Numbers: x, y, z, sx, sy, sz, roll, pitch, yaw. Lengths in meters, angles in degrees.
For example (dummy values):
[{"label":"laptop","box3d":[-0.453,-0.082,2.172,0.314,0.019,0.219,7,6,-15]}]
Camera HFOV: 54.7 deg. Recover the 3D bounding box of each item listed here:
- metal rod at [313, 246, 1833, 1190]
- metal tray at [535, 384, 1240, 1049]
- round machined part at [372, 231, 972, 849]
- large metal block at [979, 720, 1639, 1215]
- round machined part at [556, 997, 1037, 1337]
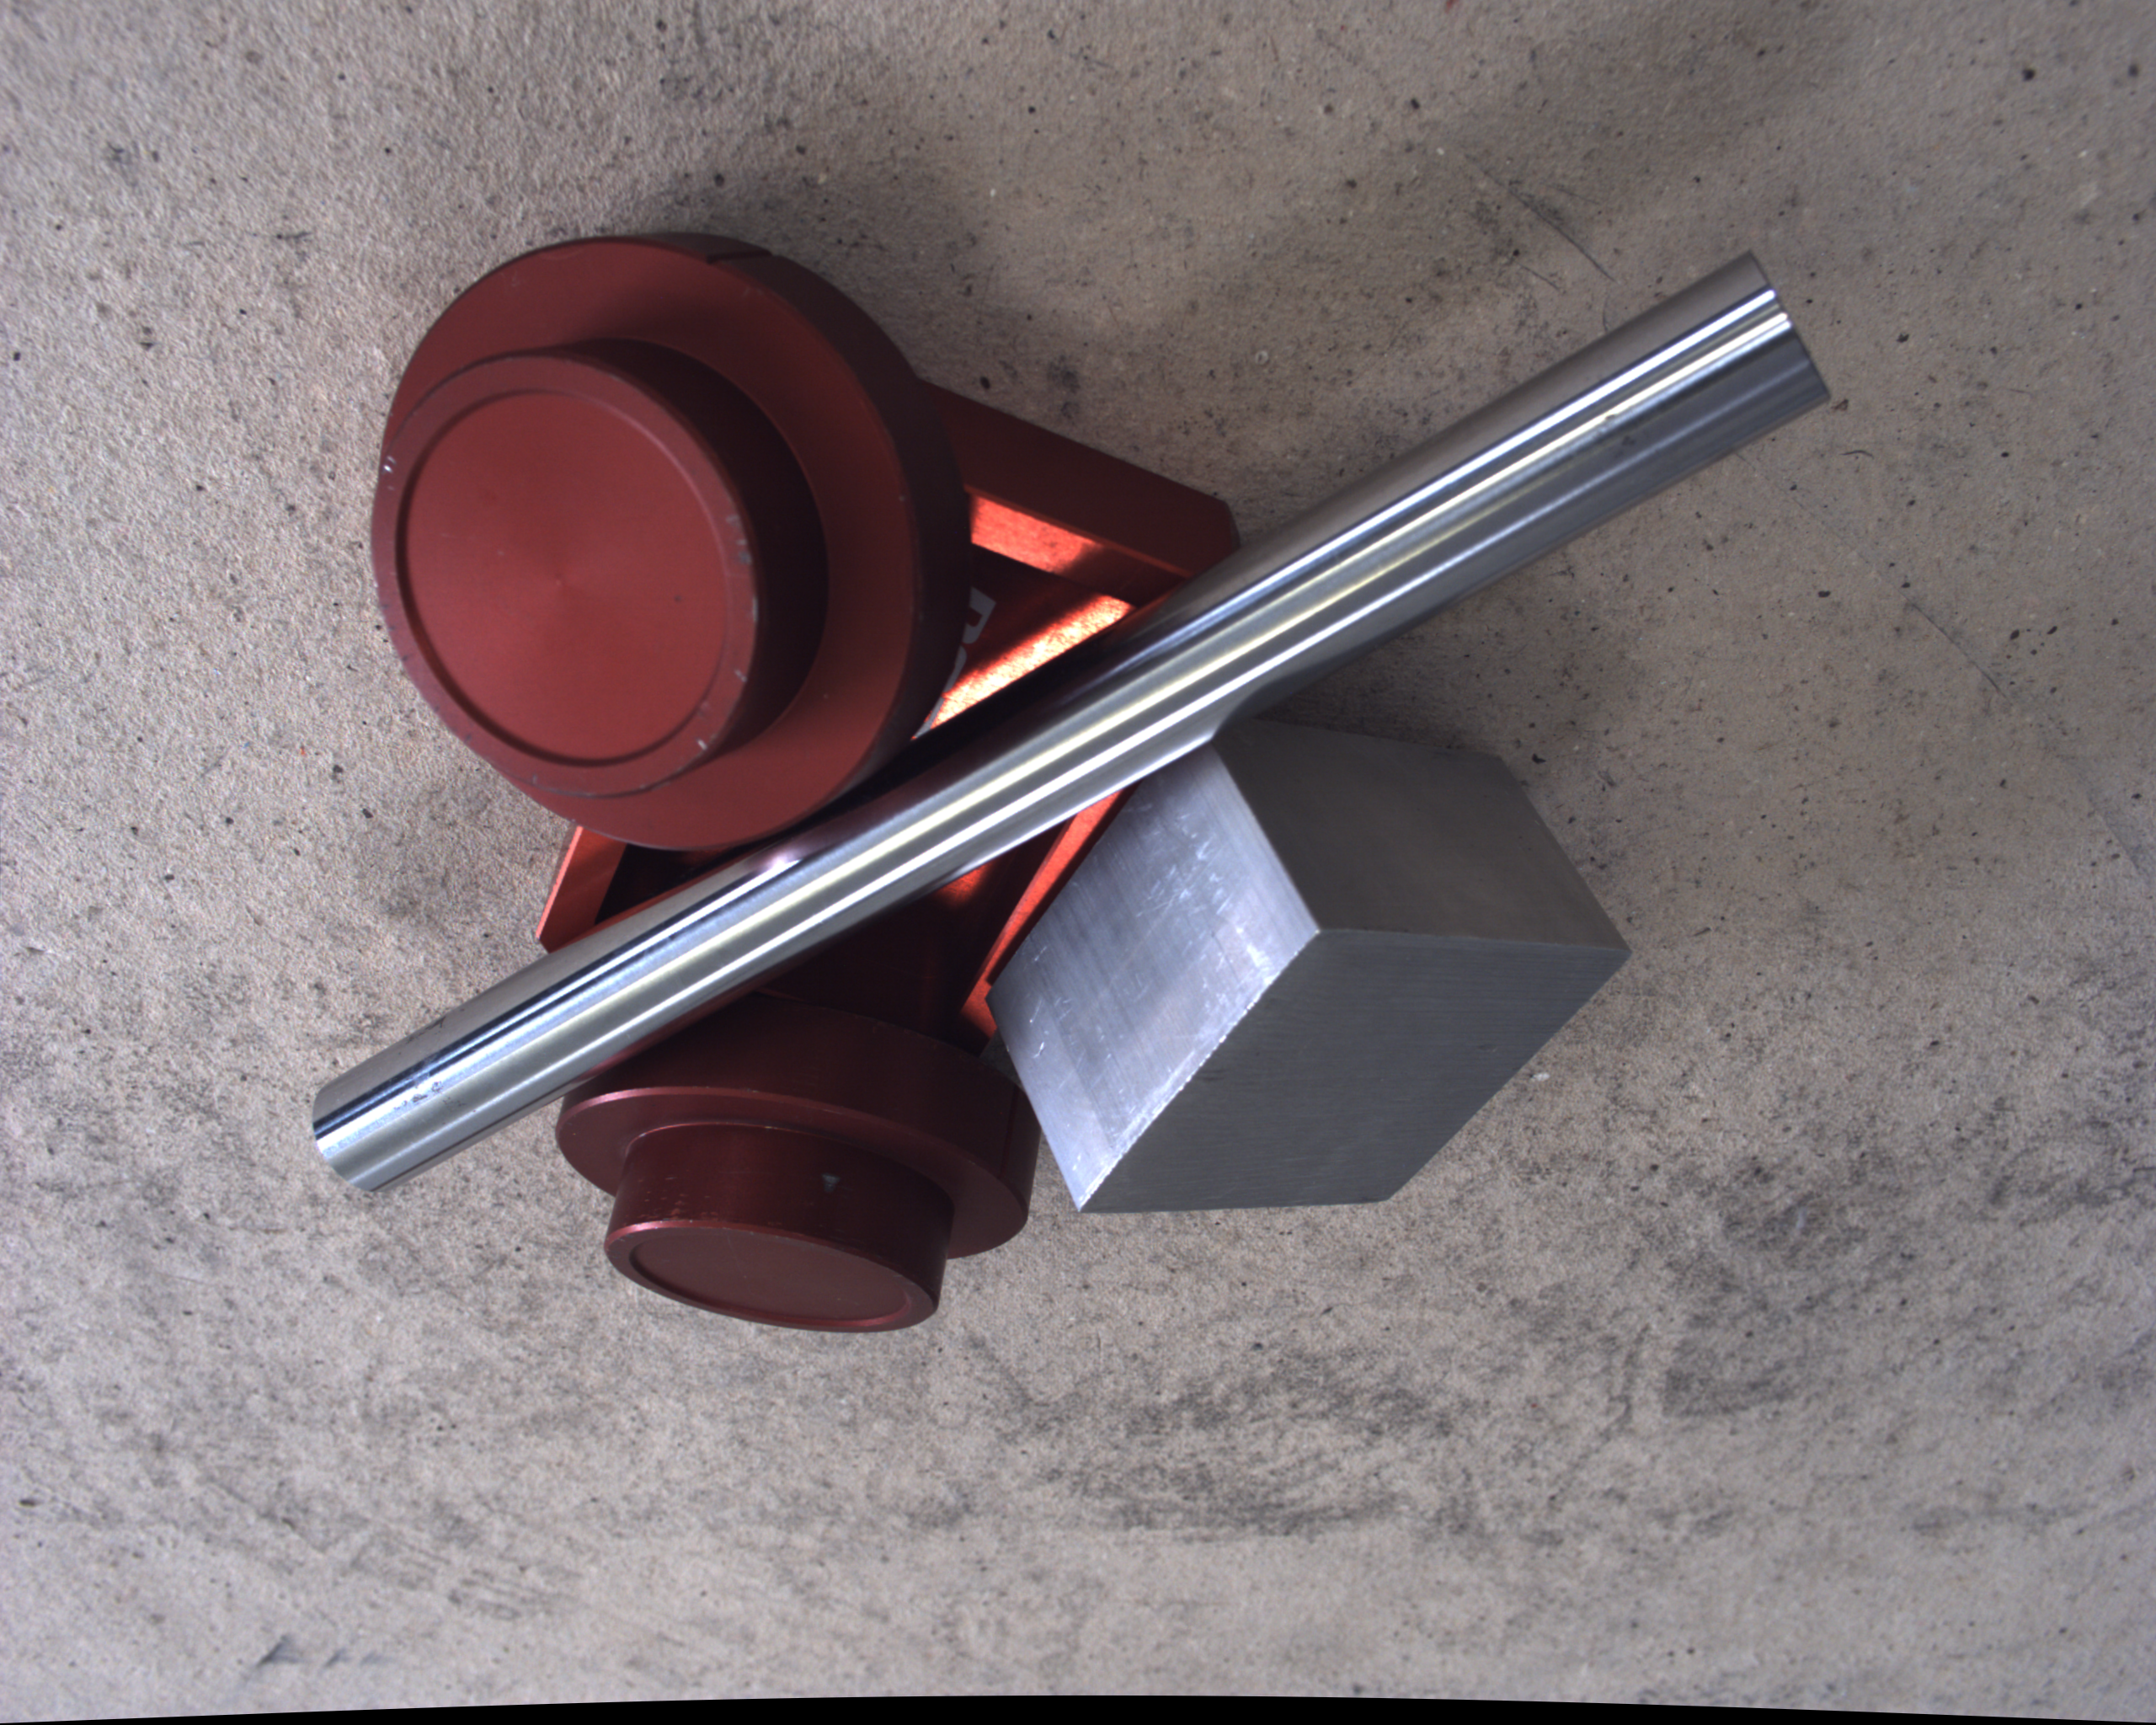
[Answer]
[{"label":"metal rod","box3d":[-0.019,-0.013,0.359,0.300,0.025,0.025,-28,125,22]},{"label":"metal tray","box3d":[-0.037,-0.022,0.386,0.091,0.030,0.129,19,128,-16]},{"label":"round machined part","box3d":[-0.070,-0.048,0.330,0.098,0.042,0.097,7,111,19]},{"label":"large metal block","box3d":[0.042,0.021,0.392,0.081,0.050,0.080,6,134,-37]},{"label":"round machined part","box3d":[-0.059,0.067,0.432,0.099,0.042,0.098,6,151,4]}]
